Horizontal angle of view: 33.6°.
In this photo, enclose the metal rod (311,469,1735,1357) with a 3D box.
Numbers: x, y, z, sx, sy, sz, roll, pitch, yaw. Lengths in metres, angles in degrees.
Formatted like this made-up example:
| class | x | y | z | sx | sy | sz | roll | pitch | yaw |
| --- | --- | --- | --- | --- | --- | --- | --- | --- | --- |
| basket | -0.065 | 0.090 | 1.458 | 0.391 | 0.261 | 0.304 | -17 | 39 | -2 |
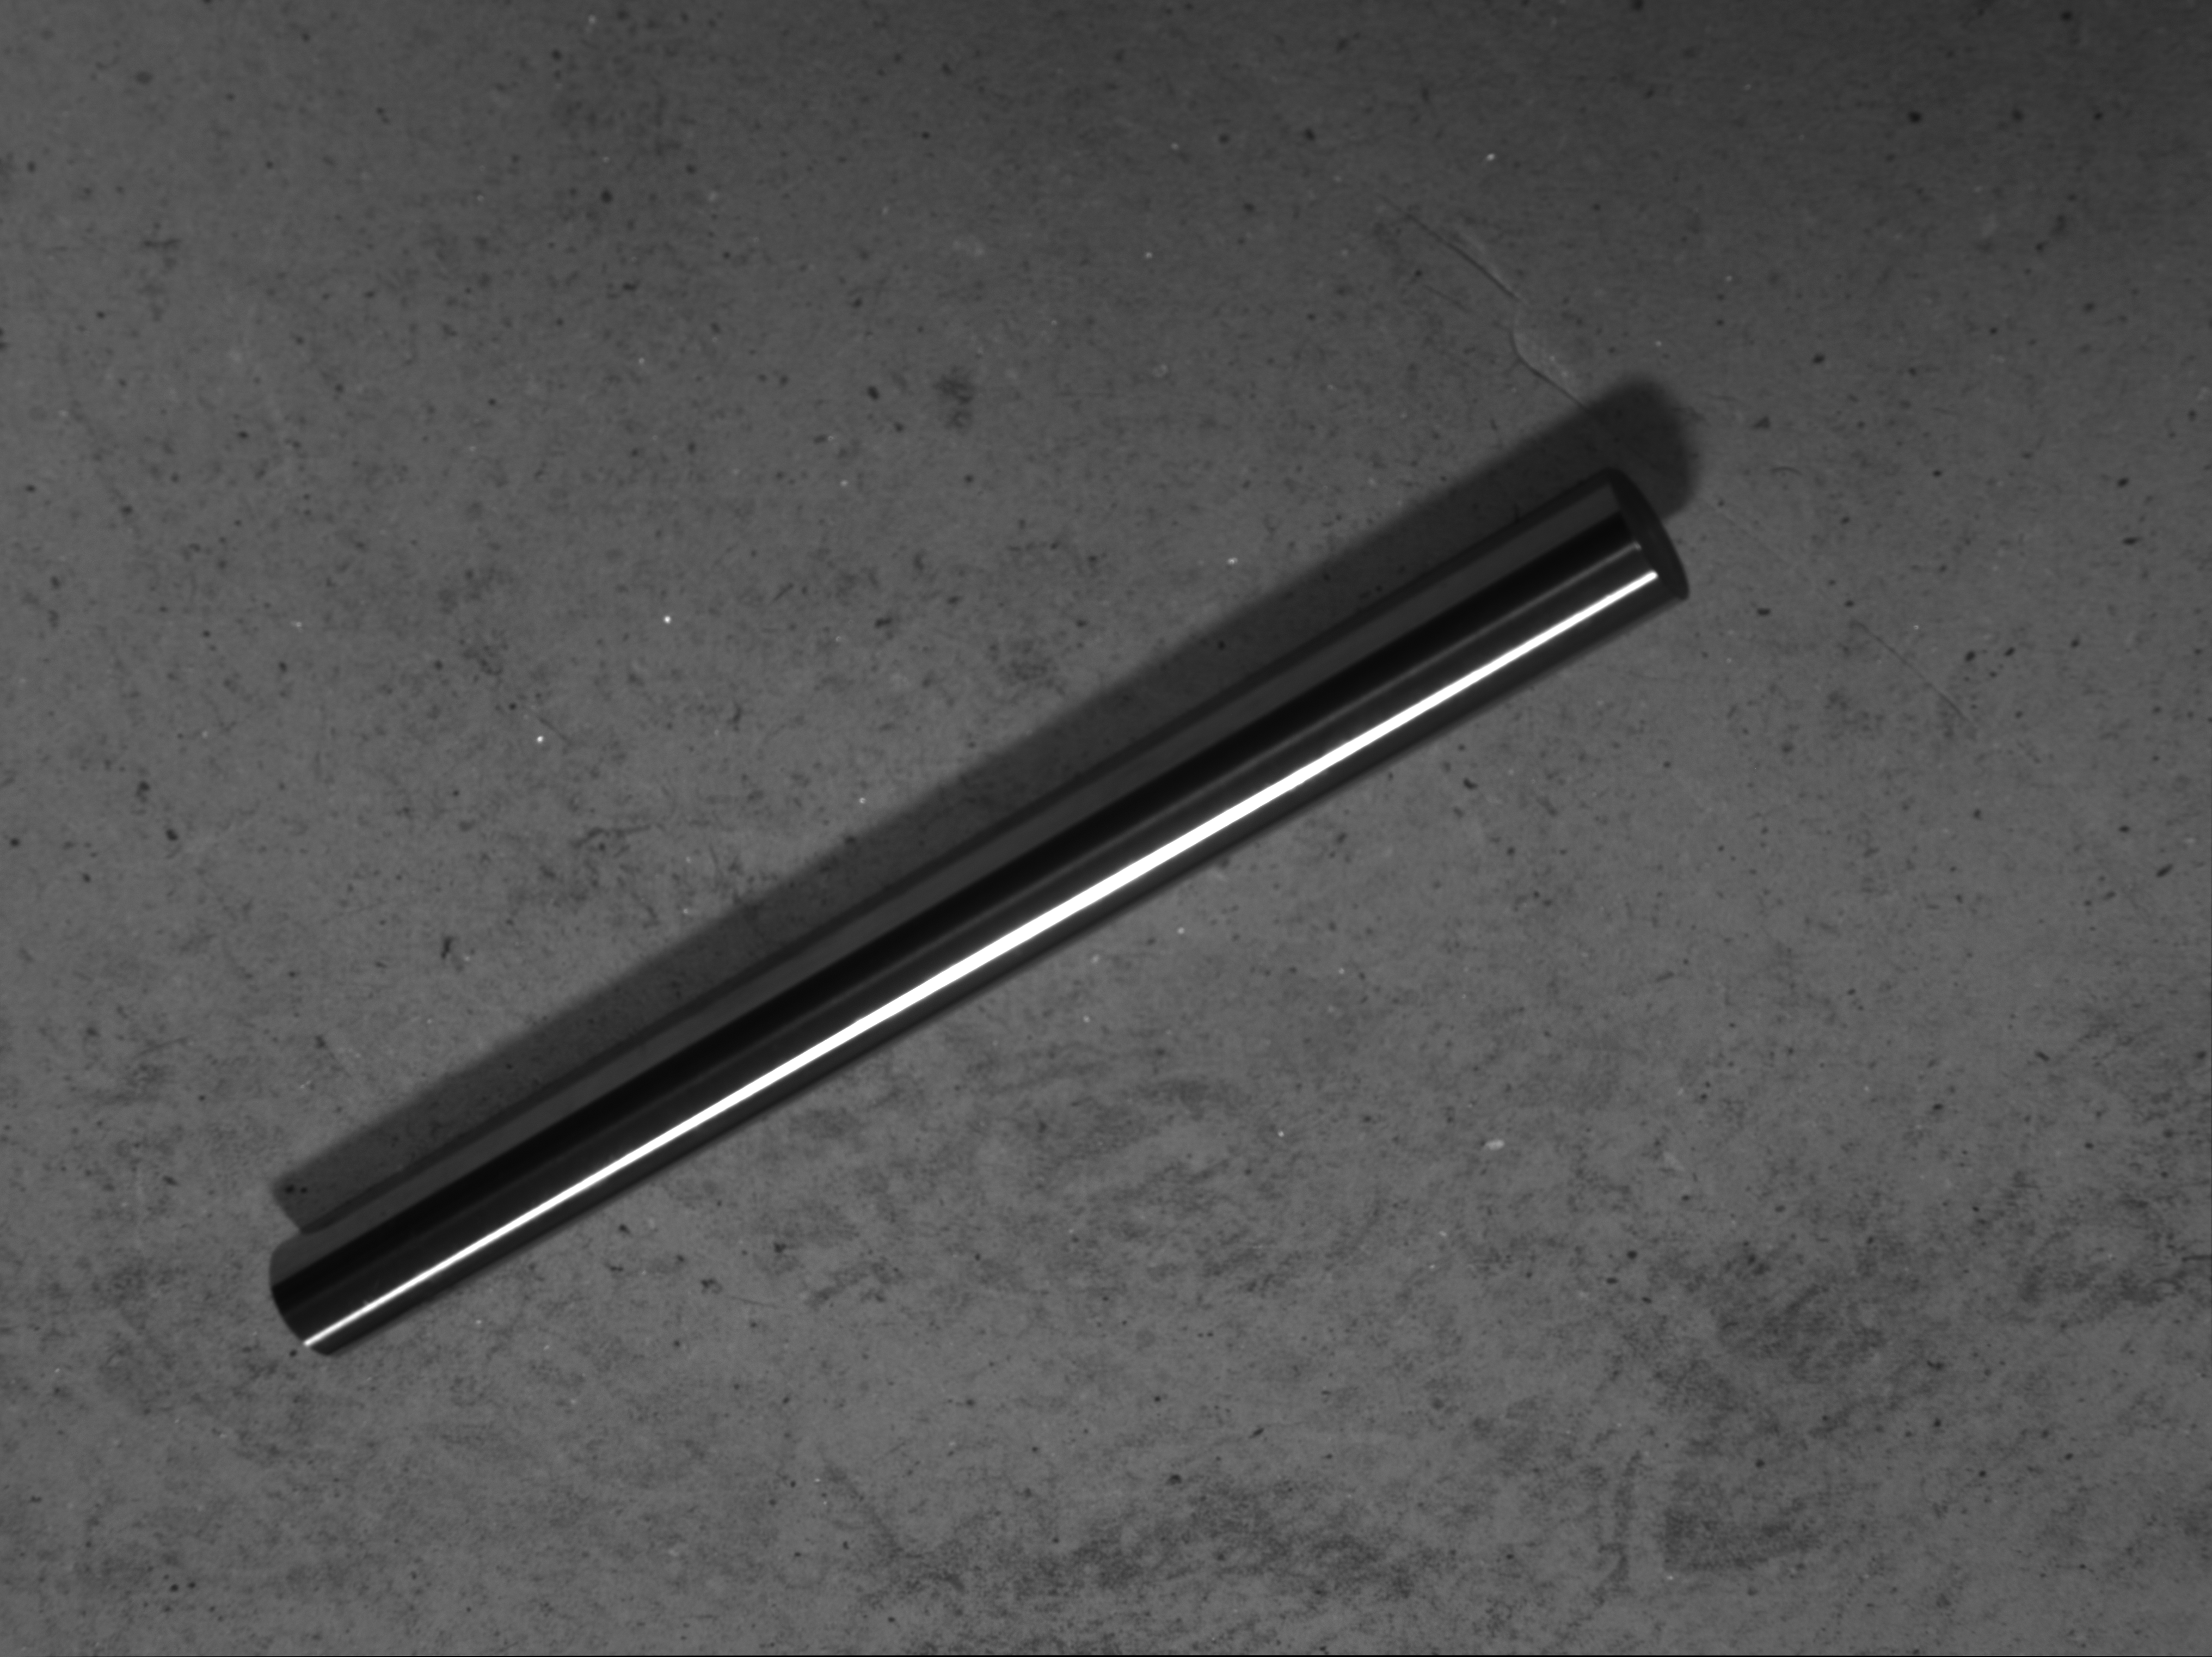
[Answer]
| class | x | y | z | sx | sy | sz | roll | pitch | yaw |
| --- | --- | --- | --- | --- | --- | --- | --- | --- | --- |
| metal rod | -0.024 | 0.021 | 0.656 | 0.300 | 0.025 | 0.025 | -30 | 125 | 21 |
